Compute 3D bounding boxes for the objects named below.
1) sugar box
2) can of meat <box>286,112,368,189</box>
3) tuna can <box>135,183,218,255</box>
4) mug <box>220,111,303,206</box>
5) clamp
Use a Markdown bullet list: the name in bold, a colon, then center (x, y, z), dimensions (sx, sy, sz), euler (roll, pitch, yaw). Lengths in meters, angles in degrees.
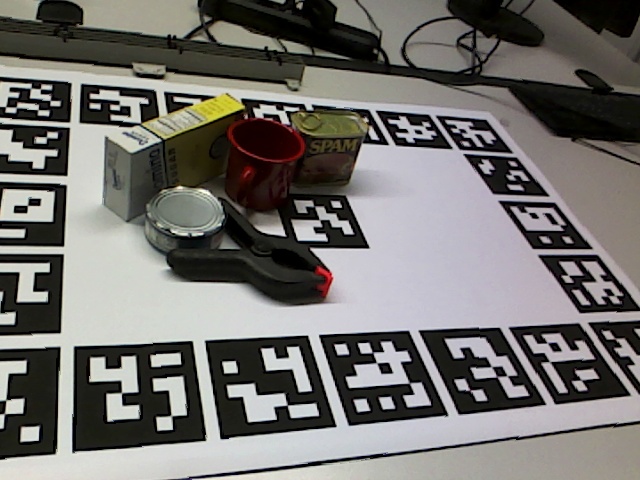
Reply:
- **sugar box**: center (-0.169, -0.098, 0.717), dimensions (0.045, 0.093, 0.176), euler (34, 41, 19)
- **can of meat**: center (0.001, -0.116, 0.811), dimensions (0.101, 0.084, 0.058), euler (-4, 44, -28)
- **tuna can**: center (-0.156, -0.021, 0.670), dimensions (0.085, 0.034, 0.086), euler (11, 42, -10)
- **mug**: center (-0.078, -0.088, 0.736), dimensions (0.093, 0.081, 0.117), euler (18, 42, -2)
- **clamp**: center (-0.071, 0.022, 0.662), dimensions (0.165, 0.036, 0.122), euler (28, 36, 3)
